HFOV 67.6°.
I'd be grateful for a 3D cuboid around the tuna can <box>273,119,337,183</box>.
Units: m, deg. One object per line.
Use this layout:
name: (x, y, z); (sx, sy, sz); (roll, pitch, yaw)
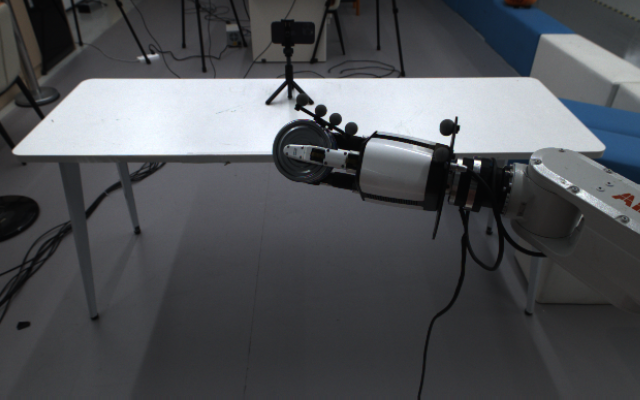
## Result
tuna can: (-0.020, -0.067, 0.659); (0.085, 0.085, 0.034); (12, 4, 15)
